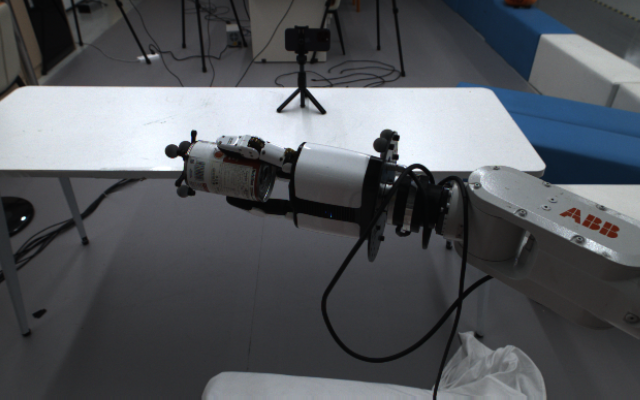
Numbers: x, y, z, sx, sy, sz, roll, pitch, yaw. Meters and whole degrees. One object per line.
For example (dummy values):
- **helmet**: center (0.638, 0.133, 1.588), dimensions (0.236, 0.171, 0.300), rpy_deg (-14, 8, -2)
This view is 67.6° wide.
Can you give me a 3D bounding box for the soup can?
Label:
- **soup can**: center (-0.113, -0.037, 0.628), dimensions (0.101, 0.067, 0.067), rpy_deg (10, 35, 10)
